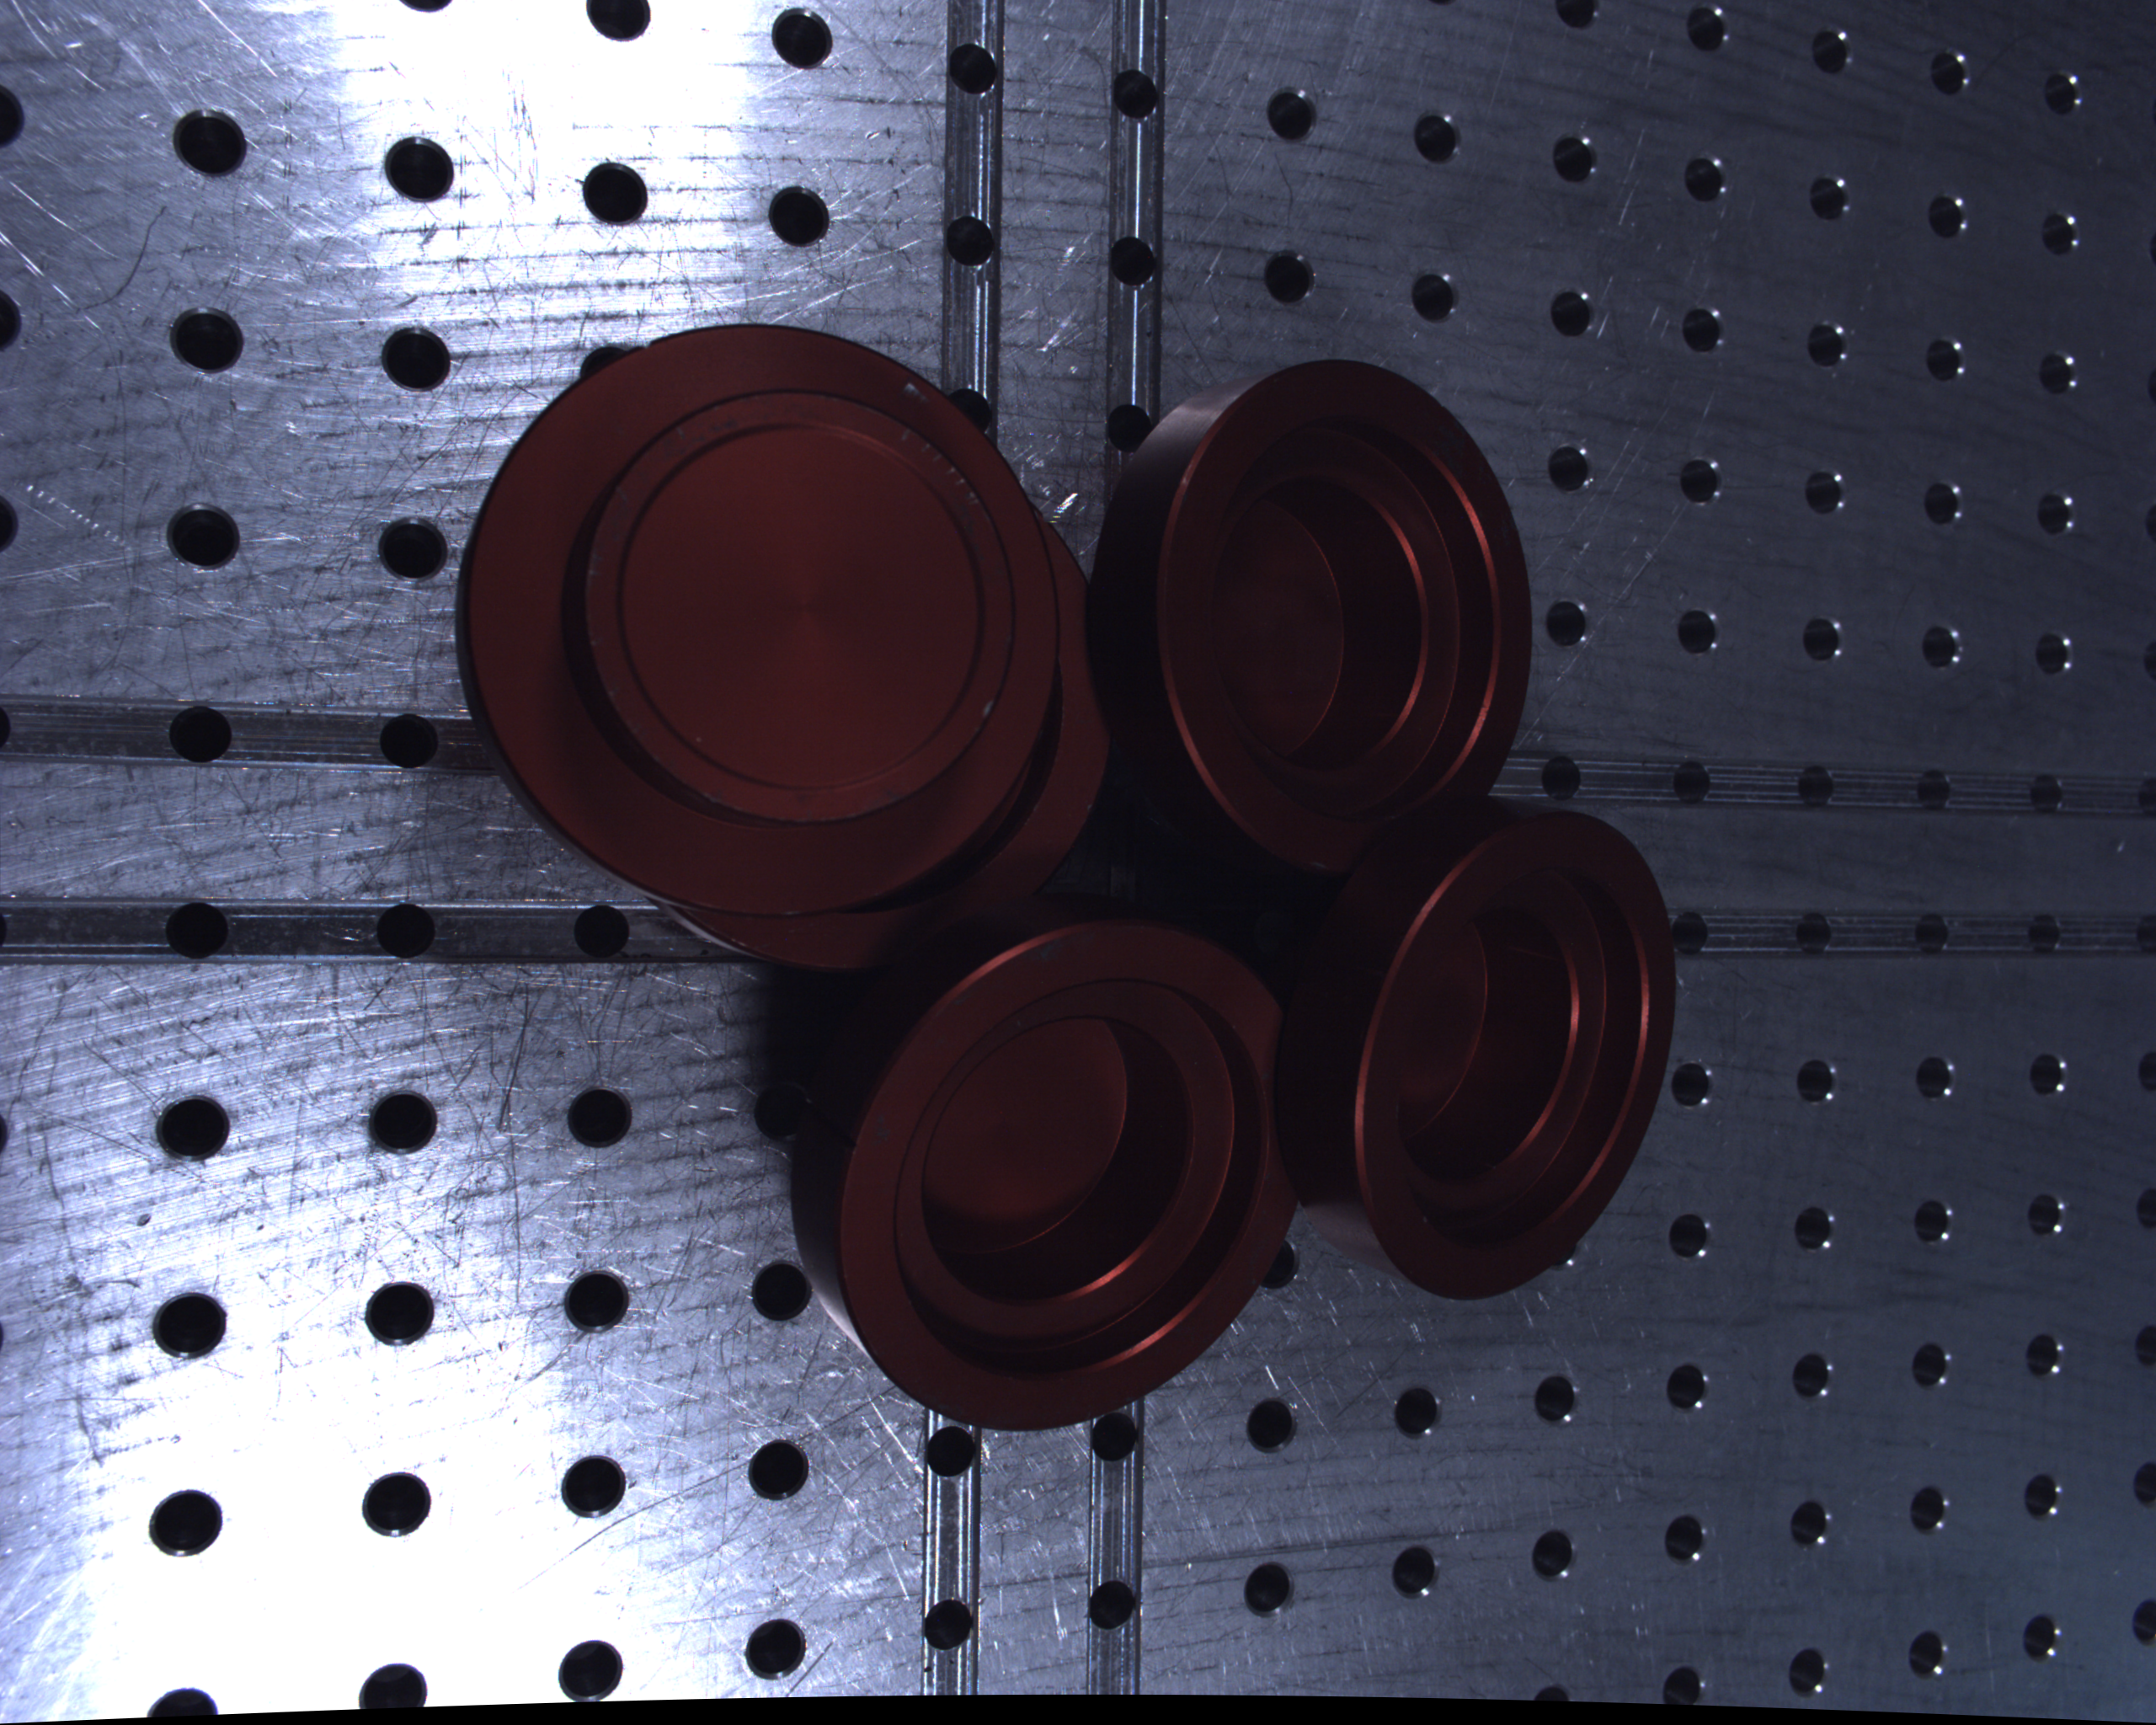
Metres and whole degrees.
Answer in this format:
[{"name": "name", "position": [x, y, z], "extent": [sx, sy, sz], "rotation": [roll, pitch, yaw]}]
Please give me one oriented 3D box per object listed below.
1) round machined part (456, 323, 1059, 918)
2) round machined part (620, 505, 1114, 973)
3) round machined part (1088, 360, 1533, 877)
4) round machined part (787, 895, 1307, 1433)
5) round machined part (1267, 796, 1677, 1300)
[{"name": "round machined part", "position": [-0.049, -0.040, 0.341], "extent": [0.099, 0.042, 0.097], "rotation": [0, 90, -21]}, {"name": "round machined part", "position": [-0.046, -0.029, 0.387], "extent": [0.099, 0.042, 0.097], "rotation": [0, 90, -21]}, {"name": "round machined part", "position": [0.041, -0.046, 0.410], "extent": [0.099, 0.042, 0.097], "rotation": [-1, 92, -37]}, {"name": "round machined part", "position": [-0.009, 0.053, 0.392], "extent": [0.099, 0.042, 0.097], "rotation": [-9, 109, -28]}, {"name": "round machined part", "position": [0.074, 0.034, 0.420], "extent": [0.099, 0.042, 0.097], "rotation": [-12, 108, -39]}]
